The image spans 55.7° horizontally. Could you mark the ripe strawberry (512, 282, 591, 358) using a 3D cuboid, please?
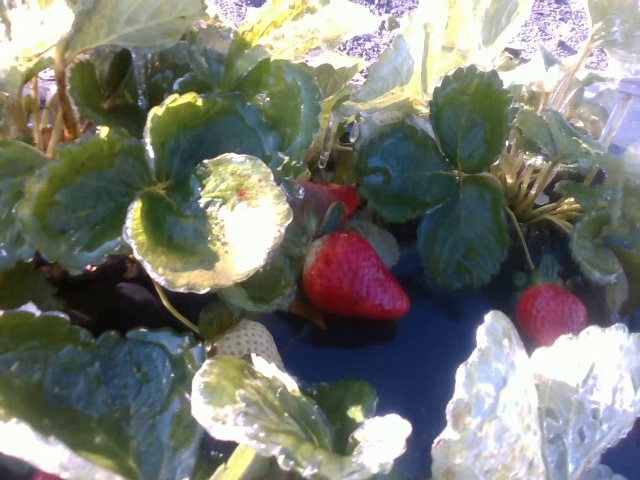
[{"bbox_3d":[0.113,0.040,0.287,0.039,0.047,0.040,29,-45,-7],"label":"ripe strawberry"}]

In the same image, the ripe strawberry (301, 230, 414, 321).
[{"bbox_3d":[0.022,0.018,0.277,0.056,0.044,0.040,38,-34,-1],"label":"ripe strawberry"}]
